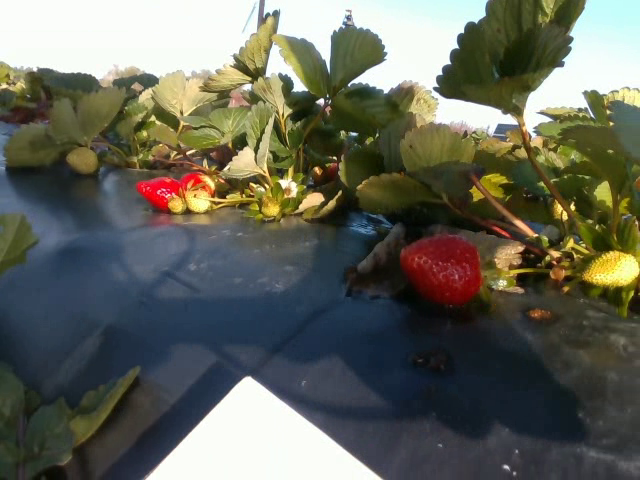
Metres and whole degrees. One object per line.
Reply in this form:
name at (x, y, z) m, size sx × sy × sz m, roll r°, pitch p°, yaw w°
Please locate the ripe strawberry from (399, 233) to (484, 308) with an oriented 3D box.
ripe strawberry at (0.046, 0.011, 0.270) m, size 0.054 × 0.037 × 0.046 m, roll 9°, pitch 25°, yaw -27°
